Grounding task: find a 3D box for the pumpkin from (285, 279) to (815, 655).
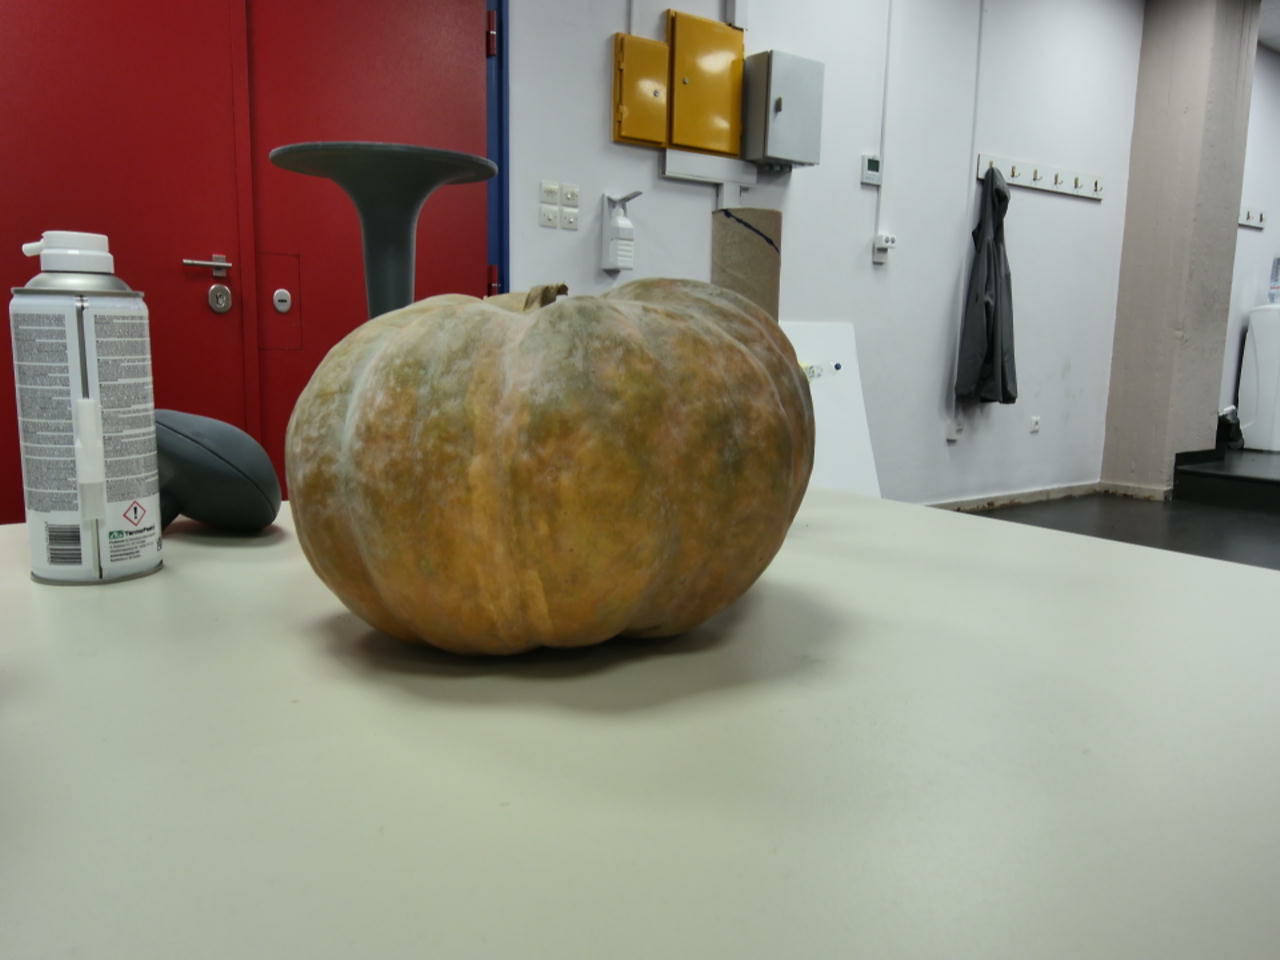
[{"bbox_3d":[-0.043,-0.012,0.478,0.252,0.168,0.252,1,6,0],"label":"pumpkin"}]
